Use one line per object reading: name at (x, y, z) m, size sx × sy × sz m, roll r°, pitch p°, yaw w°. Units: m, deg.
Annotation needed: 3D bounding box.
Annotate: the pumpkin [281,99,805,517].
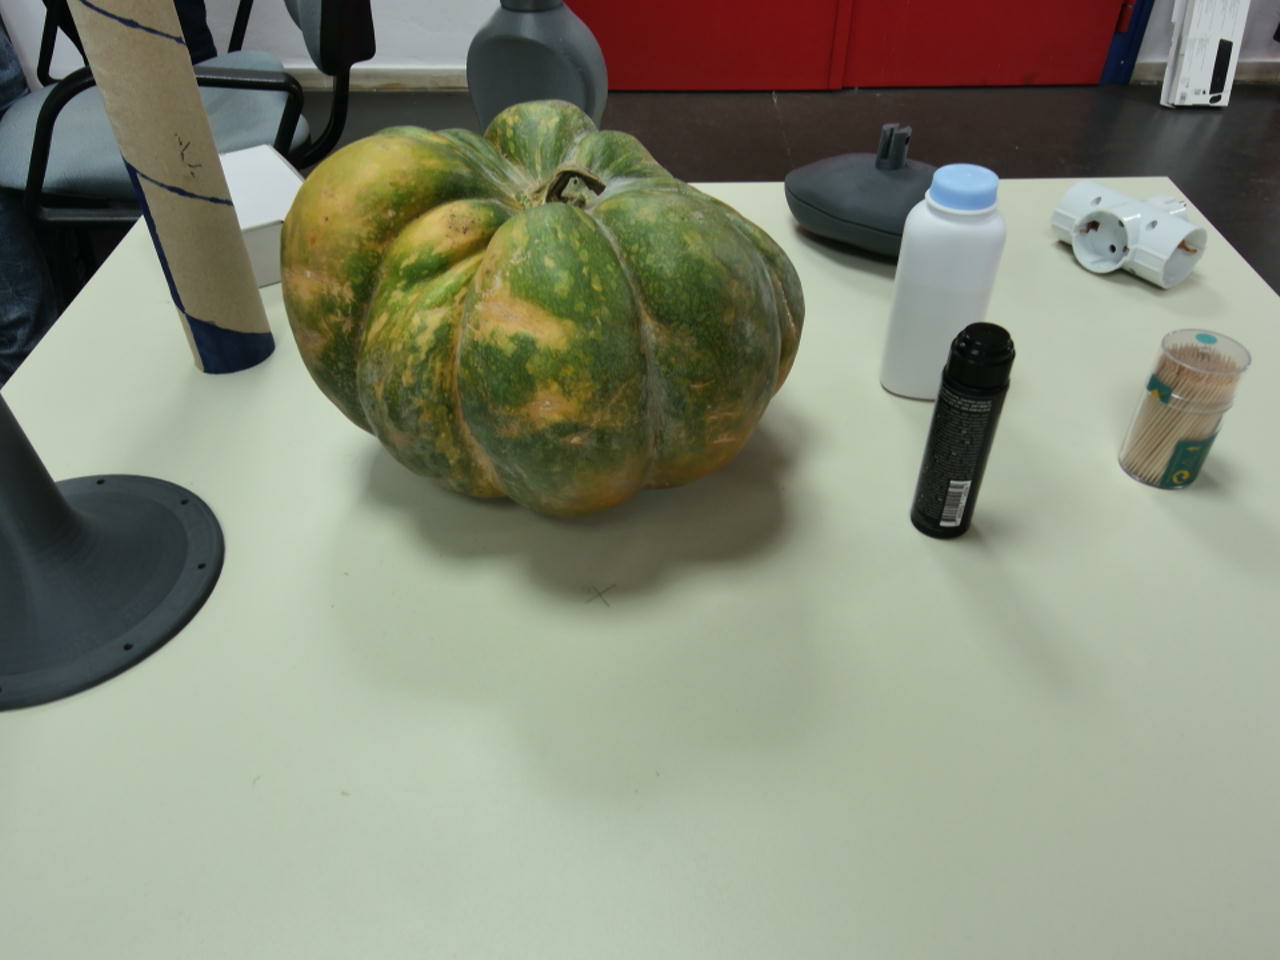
pumpkin at (-0.046, -0.095, 0.513) m, size 0.270 × 0.173 × 0.237 m, roll 25°, pitch 46°, yaw 28°
